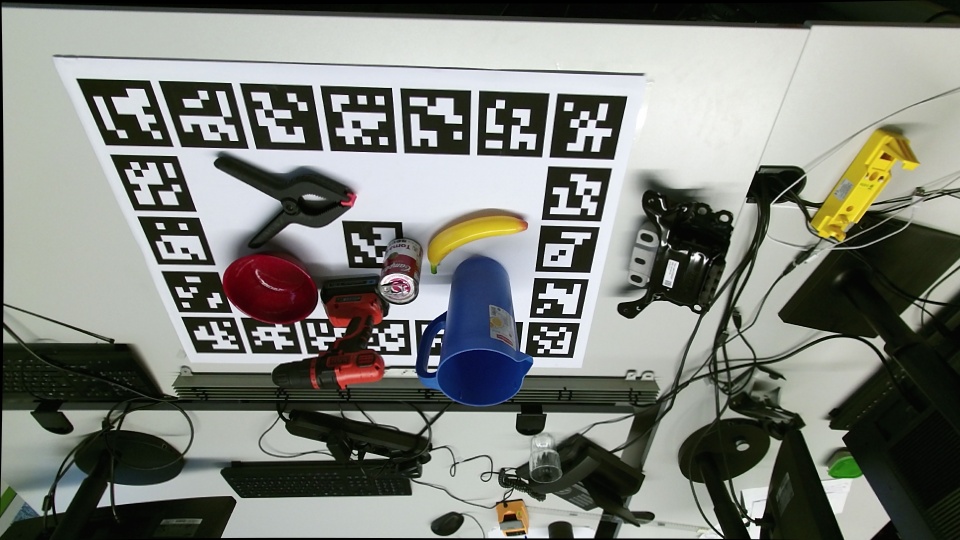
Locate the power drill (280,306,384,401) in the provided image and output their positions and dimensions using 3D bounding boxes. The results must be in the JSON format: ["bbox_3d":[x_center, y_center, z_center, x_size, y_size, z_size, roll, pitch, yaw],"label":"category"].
[{"bbox_3d":[-0.250,0.143,0.925,0.185,0.186,0.057,-4,126,2],"label":"power drill"}]

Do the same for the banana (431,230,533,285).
[{"bbox_3d":[-0.007,-0.031,0.921,0.198,0.038,0.074,-20,133,15],"label":"banana"}]

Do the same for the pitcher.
[{"bbox_3d":[-0.010,0.120,0.904,0.189,0.241,0.133,-20,127,12],"label":"pitcher"}]

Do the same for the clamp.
[{"bbox_3d":[-0.298,-0.082,0.865,0.203,0.036,0.165,-2,122,0],"label":"clamp"}]

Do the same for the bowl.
[{"bbox_3d":[-0.361,0.047,0.955,0.162,0.055,0.161,-1,125,-1],"label":"bowl"}]

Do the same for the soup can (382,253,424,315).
[{"bbox_3d":[-0.132,0.028,0.921,0.068,0.101,0.068,-1,134,-1],"label":"soup can"}]
